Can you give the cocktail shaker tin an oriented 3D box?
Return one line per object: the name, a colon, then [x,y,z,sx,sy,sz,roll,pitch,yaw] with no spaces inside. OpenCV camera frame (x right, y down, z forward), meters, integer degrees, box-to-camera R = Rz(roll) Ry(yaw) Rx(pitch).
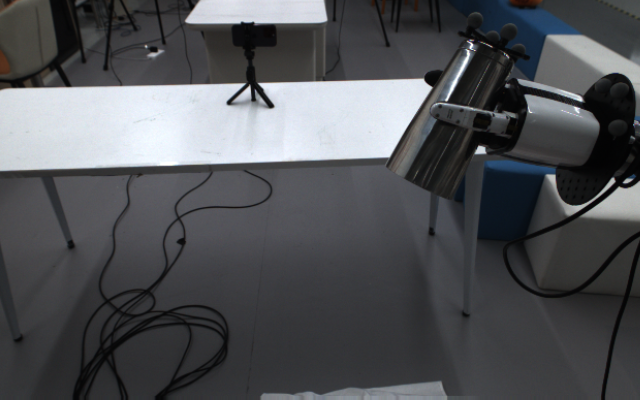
cocktail shaker tin: [0.160,-0.099,0.577,0.093,0.170,0.093,24,13,-6]
